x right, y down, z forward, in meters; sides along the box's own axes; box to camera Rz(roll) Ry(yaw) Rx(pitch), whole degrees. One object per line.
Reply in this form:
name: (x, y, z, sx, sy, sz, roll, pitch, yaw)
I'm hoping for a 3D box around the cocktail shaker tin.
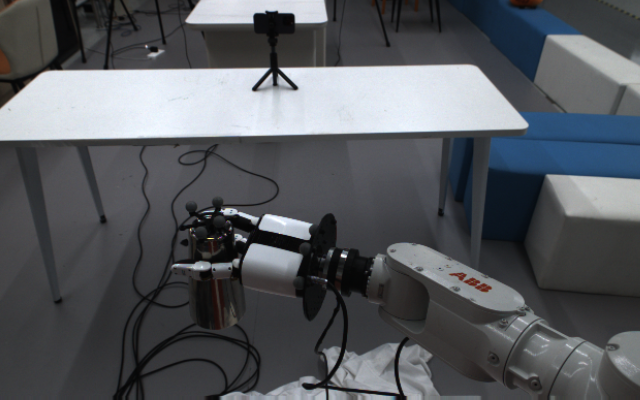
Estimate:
cocktail shaker tin: (-0.164, 0.108, 0.765, 0.093, 0.170, 0.093, 2, 33, -2)
